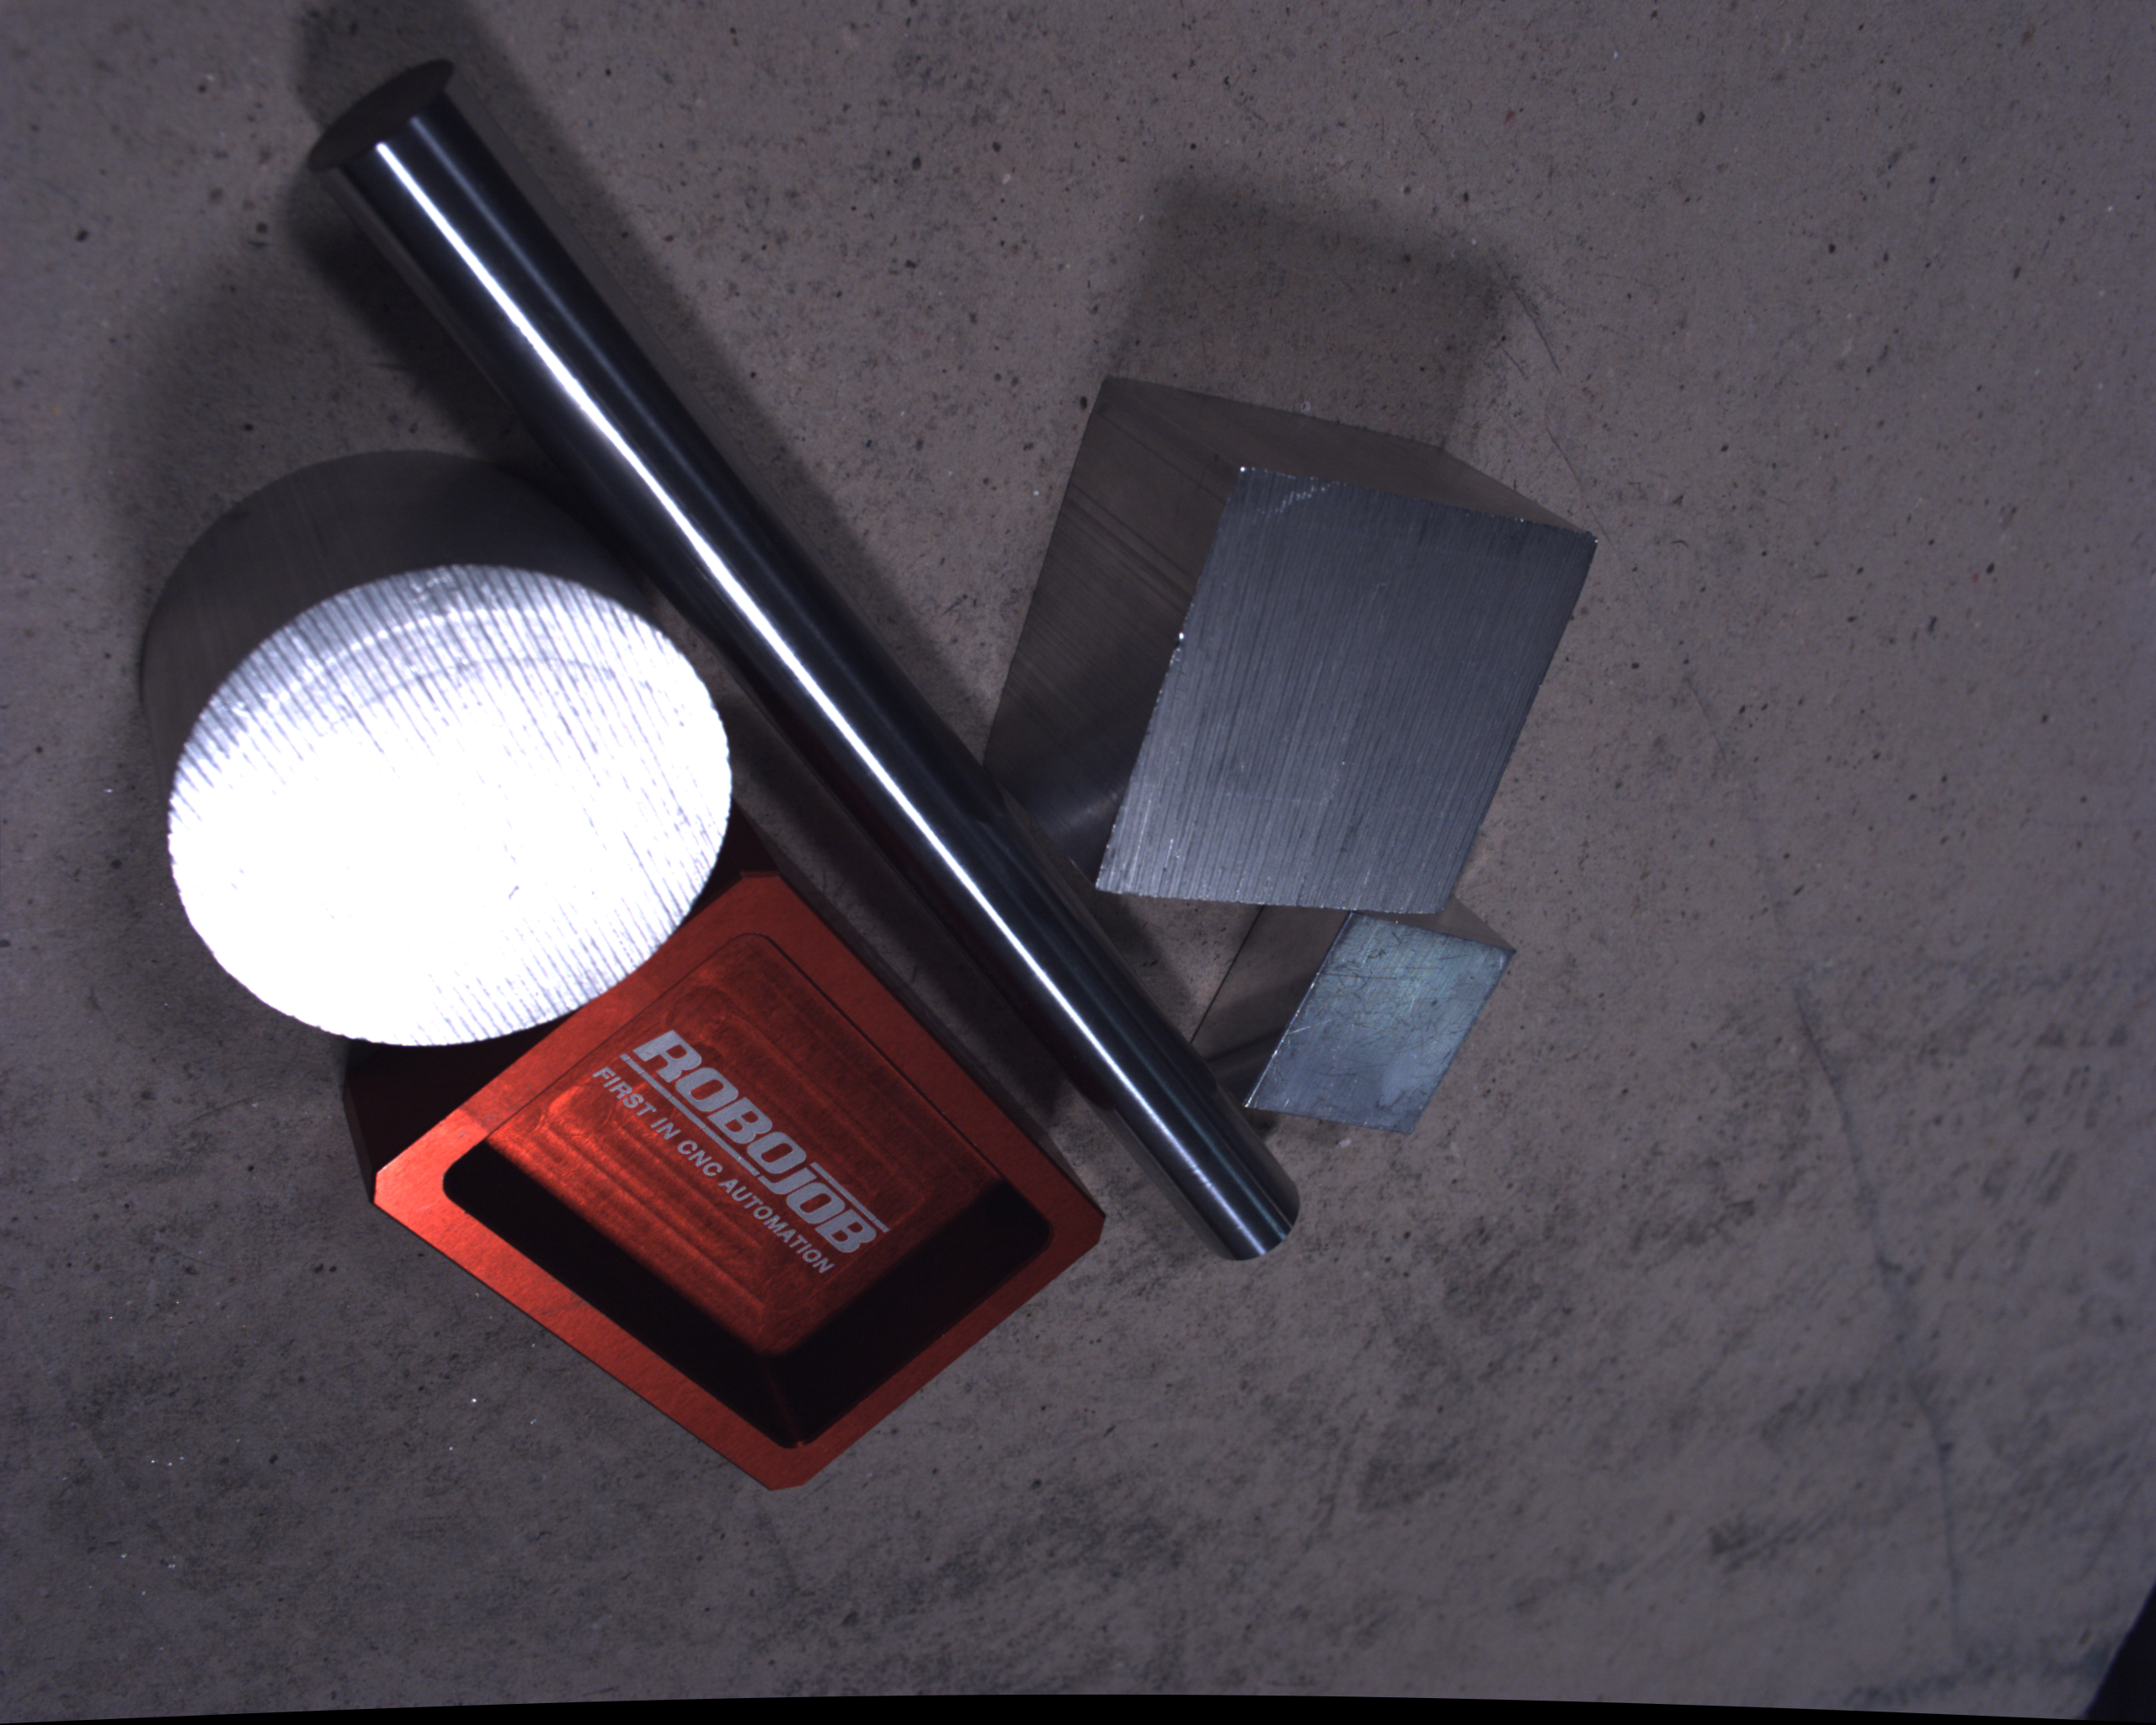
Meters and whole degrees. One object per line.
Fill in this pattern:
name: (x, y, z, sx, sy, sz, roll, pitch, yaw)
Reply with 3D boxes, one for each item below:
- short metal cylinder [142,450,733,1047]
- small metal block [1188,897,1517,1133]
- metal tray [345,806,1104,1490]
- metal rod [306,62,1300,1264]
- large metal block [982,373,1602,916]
short metal cylinder: (-0.101, -0.018, 0.327, 0.081, 0.050, 0.079, -14, 125, -21)
small metal block: (0.061, 0.029, 0.462, 0.050, 0.025, 0.050, 14, 111, -34)
metal tray: (-0.064, 0.059, 0.408, 0.090, 0.030, 0.130, -39, 130, -2)
metal rod: (-0.029, -0.011, 0.386, 0.025, 0.025, 0.300, -39, 130, -3)
large metal block: (0.038, -0.039, 0.390, 0.081, 0.050, 0.079, 4, 116, -31)
